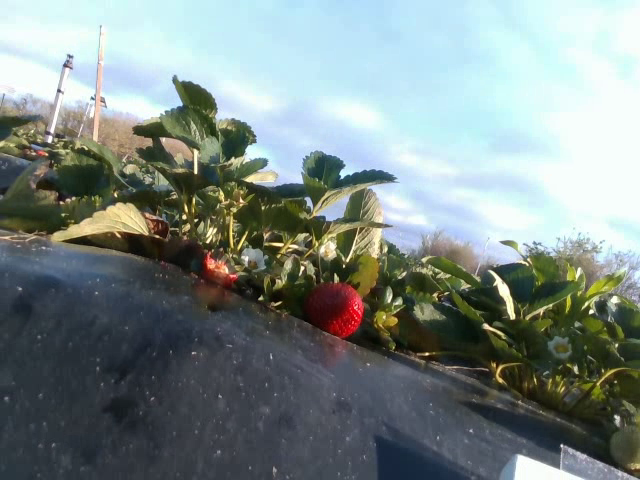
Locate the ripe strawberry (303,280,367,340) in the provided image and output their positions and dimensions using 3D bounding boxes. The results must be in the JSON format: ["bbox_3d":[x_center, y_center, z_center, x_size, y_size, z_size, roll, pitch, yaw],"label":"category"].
[{"bbox_3d":[0.014,0.043,0.409,0.052,0.041,0.052,1,-15,-16],"label":"ripe strawberry"}]
